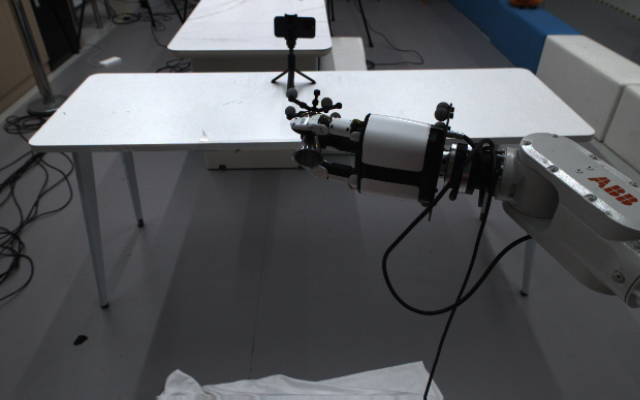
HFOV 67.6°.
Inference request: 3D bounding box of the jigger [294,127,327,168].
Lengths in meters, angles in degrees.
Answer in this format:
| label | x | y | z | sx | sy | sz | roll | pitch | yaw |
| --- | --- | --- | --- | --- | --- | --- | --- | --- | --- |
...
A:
| label | x | y | z | sx | sy | sz | roll | pitch | yaw |
| --- | --- | --- | --- | --- | --- | --- | --- | --- | --- |
| jigger | -0.014 | -0.090 | 0.689 | 0.043 | 0.043 | 0.071 | 4 | 60 | 2 |
